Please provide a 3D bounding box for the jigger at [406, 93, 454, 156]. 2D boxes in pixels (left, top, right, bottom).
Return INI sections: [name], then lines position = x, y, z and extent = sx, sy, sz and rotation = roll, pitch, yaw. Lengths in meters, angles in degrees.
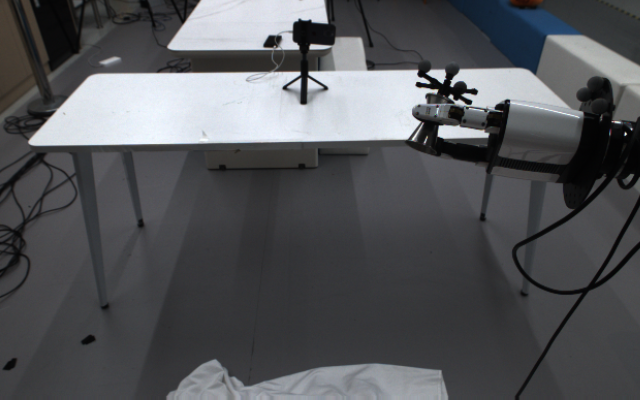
[jigger]
position = 0.140, -0.100, 0.625
extent = 0.043, 0.071, 0.043
rotation = 24, -3, 1
